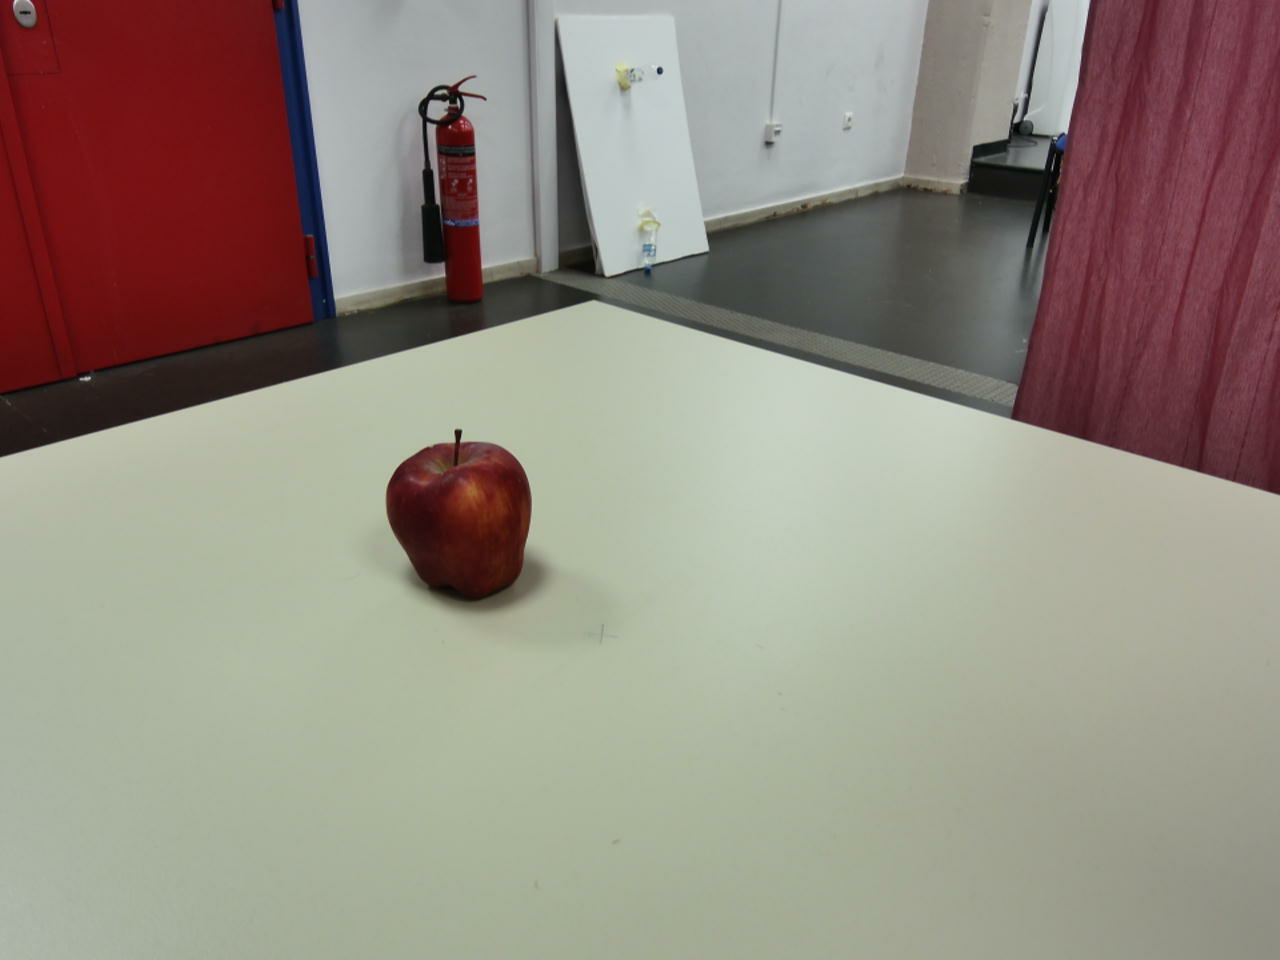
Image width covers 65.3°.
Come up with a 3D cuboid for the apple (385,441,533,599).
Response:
[{"bbox_3d":[-0.100,0.016,0.556,0.083,0.090,0.083,2,25,-1],"label":"apple"}]
